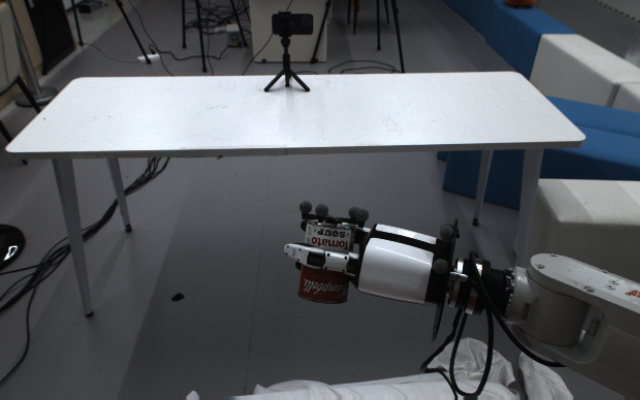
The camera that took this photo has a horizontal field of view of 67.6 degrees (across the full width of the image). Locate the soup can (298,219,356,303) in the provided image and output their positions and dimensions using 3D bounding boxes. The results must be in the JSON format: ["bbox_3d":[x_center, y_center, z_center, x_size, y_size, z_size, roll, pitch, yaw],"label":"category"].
[{"bbox_3d":[0.011,0.080,0.645,0.067,0.101,0.067,7,3,0],"label":"soup can"}]
